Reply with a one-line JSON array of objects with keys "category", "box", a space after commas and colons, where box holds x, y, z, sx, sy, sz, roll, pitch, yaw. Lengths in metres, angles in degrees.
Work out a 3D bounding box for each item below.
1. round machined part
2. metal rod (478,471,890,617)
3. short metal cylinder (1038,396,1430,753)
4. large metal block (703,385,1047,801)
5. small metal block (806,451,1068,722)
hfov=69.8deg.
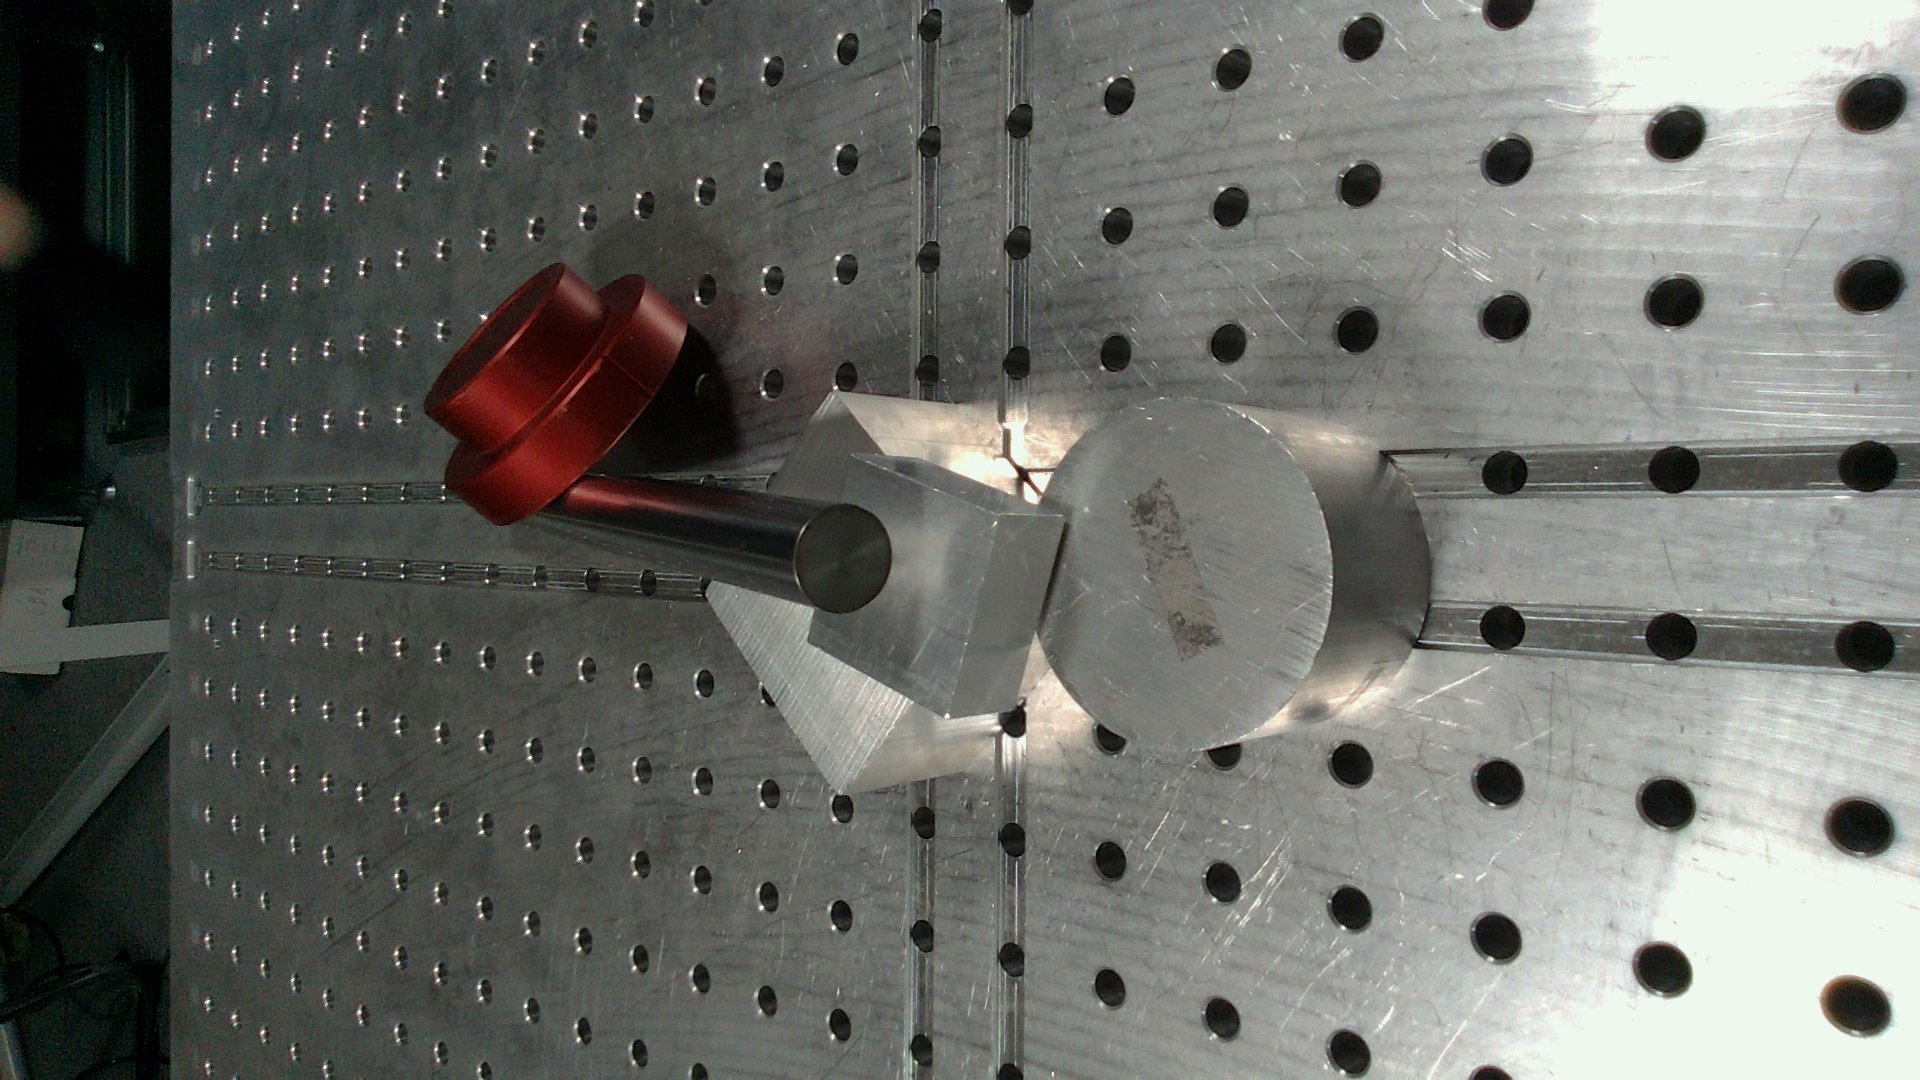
[{"category": "round machined part", "box": [-0.144, -0.056, 0.473, 0.098, 0.042, 0.098, -34, 30, 23]}, {"category": "metal rod", "box": [-0.107, -0.008, 0.430, 0.299, 0.025, 0.025, 9, 96, 57]}, {"category": "short metal cylinder", "box": [0.063, 0.008, 0.328, 0.080, 0.050, 0.080, 0, 90, 40]}, {"category": "large metal block", "box": [-0.017, 0.014, 0.393, 0.080, 0.050, 0.080, 51, 120, 28]}, {"category": "small metal block", "box": [-0.007, 0.010, 0.335, 0.050, 0.025, 0.050, 24, 105, 38]}]
